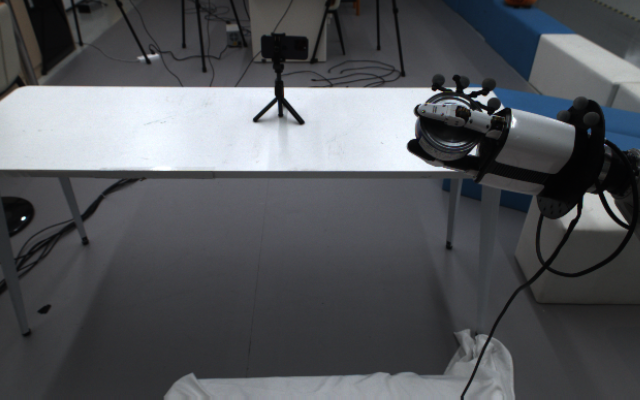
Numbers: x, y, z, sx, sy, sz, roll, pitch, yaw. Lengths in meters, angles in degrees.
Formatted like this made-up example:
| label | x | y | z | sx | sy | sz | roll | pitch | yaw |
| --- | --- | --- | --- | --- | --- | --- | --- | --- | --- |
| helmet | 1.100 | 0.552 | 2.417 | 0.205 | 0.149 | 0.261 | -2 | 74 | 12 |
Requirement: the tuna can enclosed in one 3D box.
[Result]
| label | x | y | z | sx | sy | sz | roll | pitch | yaw |
| --- | --- | --- | --- | --- | --- | --- | --- | --- | --- |
| tuna can | 0.170 | -0.097 | 0.637 | 0.085 | 0.034 | 0.085 | 0 | 72 | 0 |
